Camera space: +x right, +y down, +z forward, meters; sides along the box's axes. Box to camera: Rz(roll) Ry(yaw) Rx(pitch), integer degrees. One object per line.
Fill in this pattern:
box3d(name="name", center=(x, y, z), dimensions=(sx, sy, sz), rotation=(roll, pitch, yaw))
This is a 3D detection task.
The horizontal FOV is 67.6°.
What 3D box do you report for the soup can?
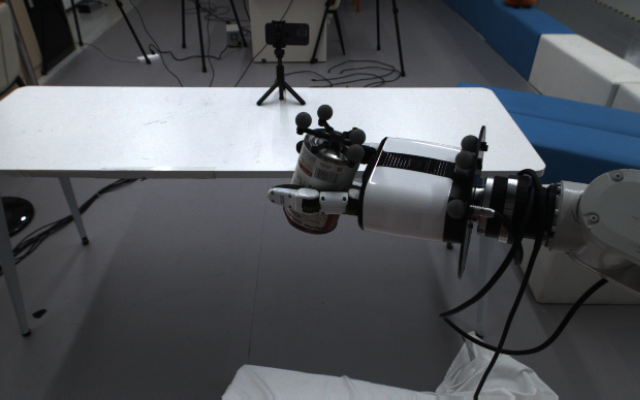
box3d(name="soup can", center=(0.003, -0.021, 0.549), dimensions=(0.067, 0.101, 0.067), rotation=(13, 34, -9))
